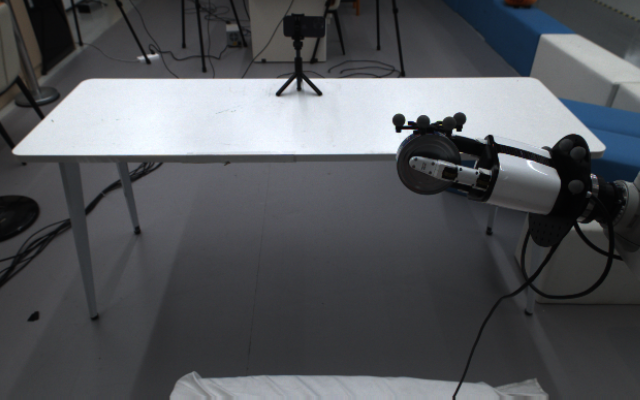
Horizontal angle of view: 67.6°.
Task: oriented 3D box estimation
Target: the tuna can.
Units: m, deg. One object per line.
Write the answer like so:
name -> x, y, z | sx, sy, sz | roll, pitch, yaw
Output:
tuna can -> 0.149, -0.054, 0.668 | 0.085, 0.085, 0.034 | 4, 18, 3
